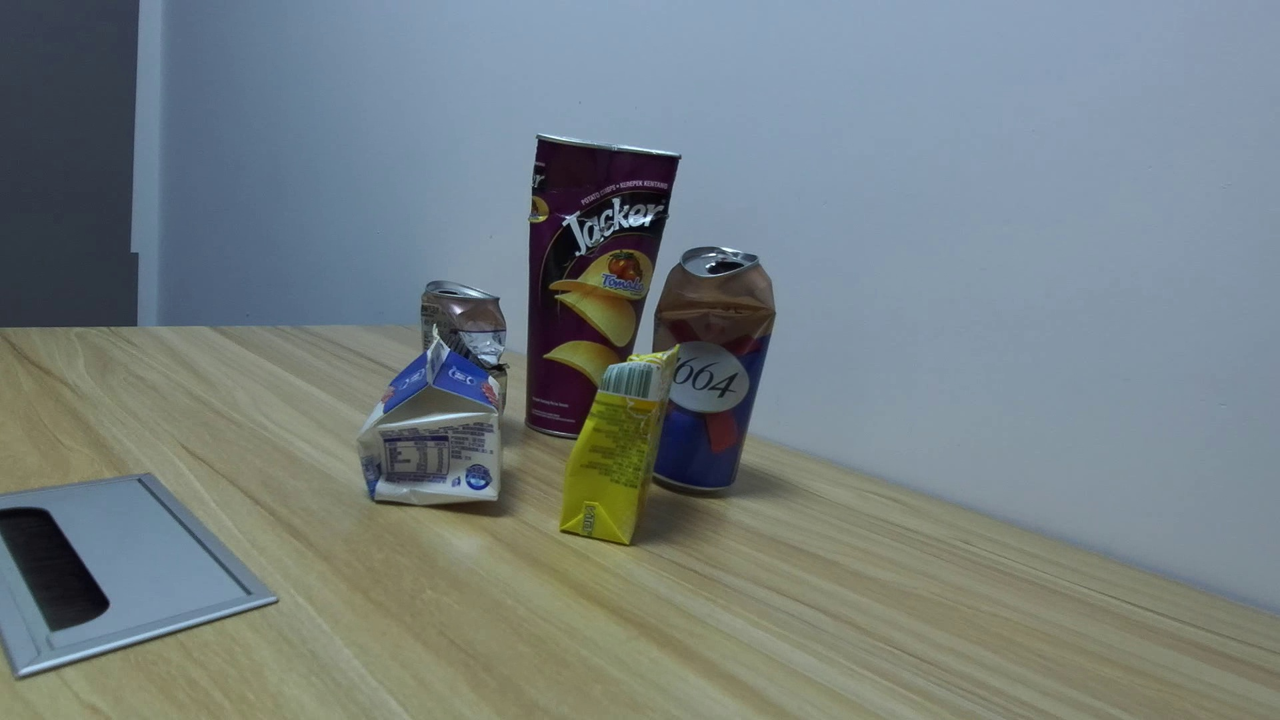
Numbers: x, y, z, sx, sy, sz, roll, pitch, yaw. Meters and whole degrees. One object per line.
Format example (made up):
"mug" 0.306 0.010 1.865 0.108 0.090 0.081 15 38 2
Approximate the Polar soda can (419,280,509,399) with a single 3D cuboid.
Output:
"Polar soda can" -0.132 0.002 0.527 0.074 0.114 0.070 4 13 -2

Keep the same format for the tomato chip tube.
"tomato chip tube" -0.044 -0.056 0.575 0.089 0.235 0.078 19 15 40

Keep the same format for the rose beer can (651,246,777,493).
"rose beer can" 0.046 0.007 0.491 0.069 0.168 0.069 4 17 -10

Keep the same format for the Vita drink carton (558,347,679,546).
"Vita drink carton" -0.011 0.042 0.412 0.046 0.109 0.071 12 10 8

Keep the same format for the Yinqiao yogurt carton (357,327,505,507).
"Yinqiao yogurt carton" -0.123 0.032 0.418 0.080 0.097 0.074 -2 13 -10
